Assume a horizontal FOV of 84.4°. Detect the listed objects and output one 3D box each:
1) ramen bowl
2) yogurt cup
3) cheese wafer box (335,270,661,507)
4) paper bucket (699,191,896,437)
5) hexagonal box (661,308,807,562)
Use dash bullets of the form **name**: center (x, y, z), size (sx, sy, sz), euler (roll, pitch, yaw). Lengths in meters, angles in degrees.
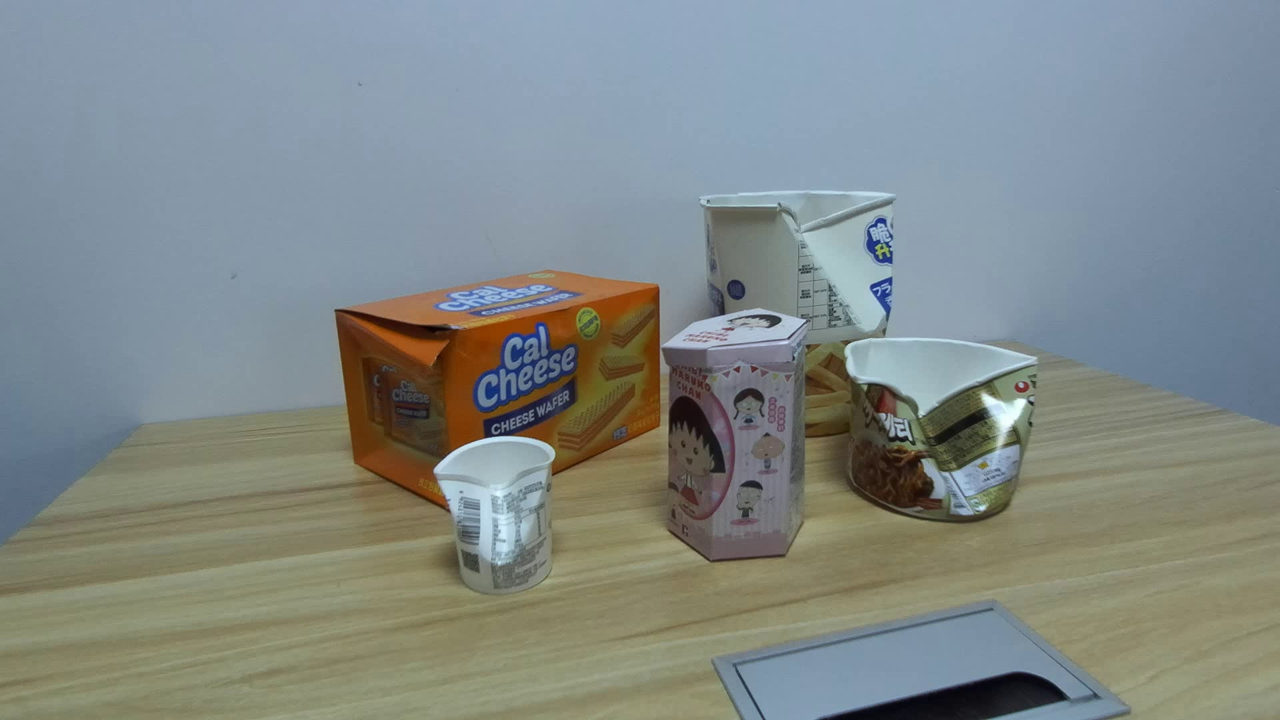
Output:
- **ramen bowl**: center (0.209, 0.043, 0.507), size (0.137, 0.098, 0.137), euler (0, 15, 0)
- **yogurt cup**: center (-0.080, 0.089, 0.412), size (0.067, 0.070, 0.067), euler (-3, 17, 1)
- **cheese wafer box**: center (-0.106, 0.008, 0.581), size (0.149, 0.137, 0.228), euler (13, 21, 39)
- **paper bucket**: center (0.136, -0.045, 0.631), size (0.168, 0.202, 0.163), euler (2, 19, 20)
- **hexagonal box**: center (0.062, 0.043, 0.439), size (0.085, 0.135, 0.091), euler (-12, 20, -30)
